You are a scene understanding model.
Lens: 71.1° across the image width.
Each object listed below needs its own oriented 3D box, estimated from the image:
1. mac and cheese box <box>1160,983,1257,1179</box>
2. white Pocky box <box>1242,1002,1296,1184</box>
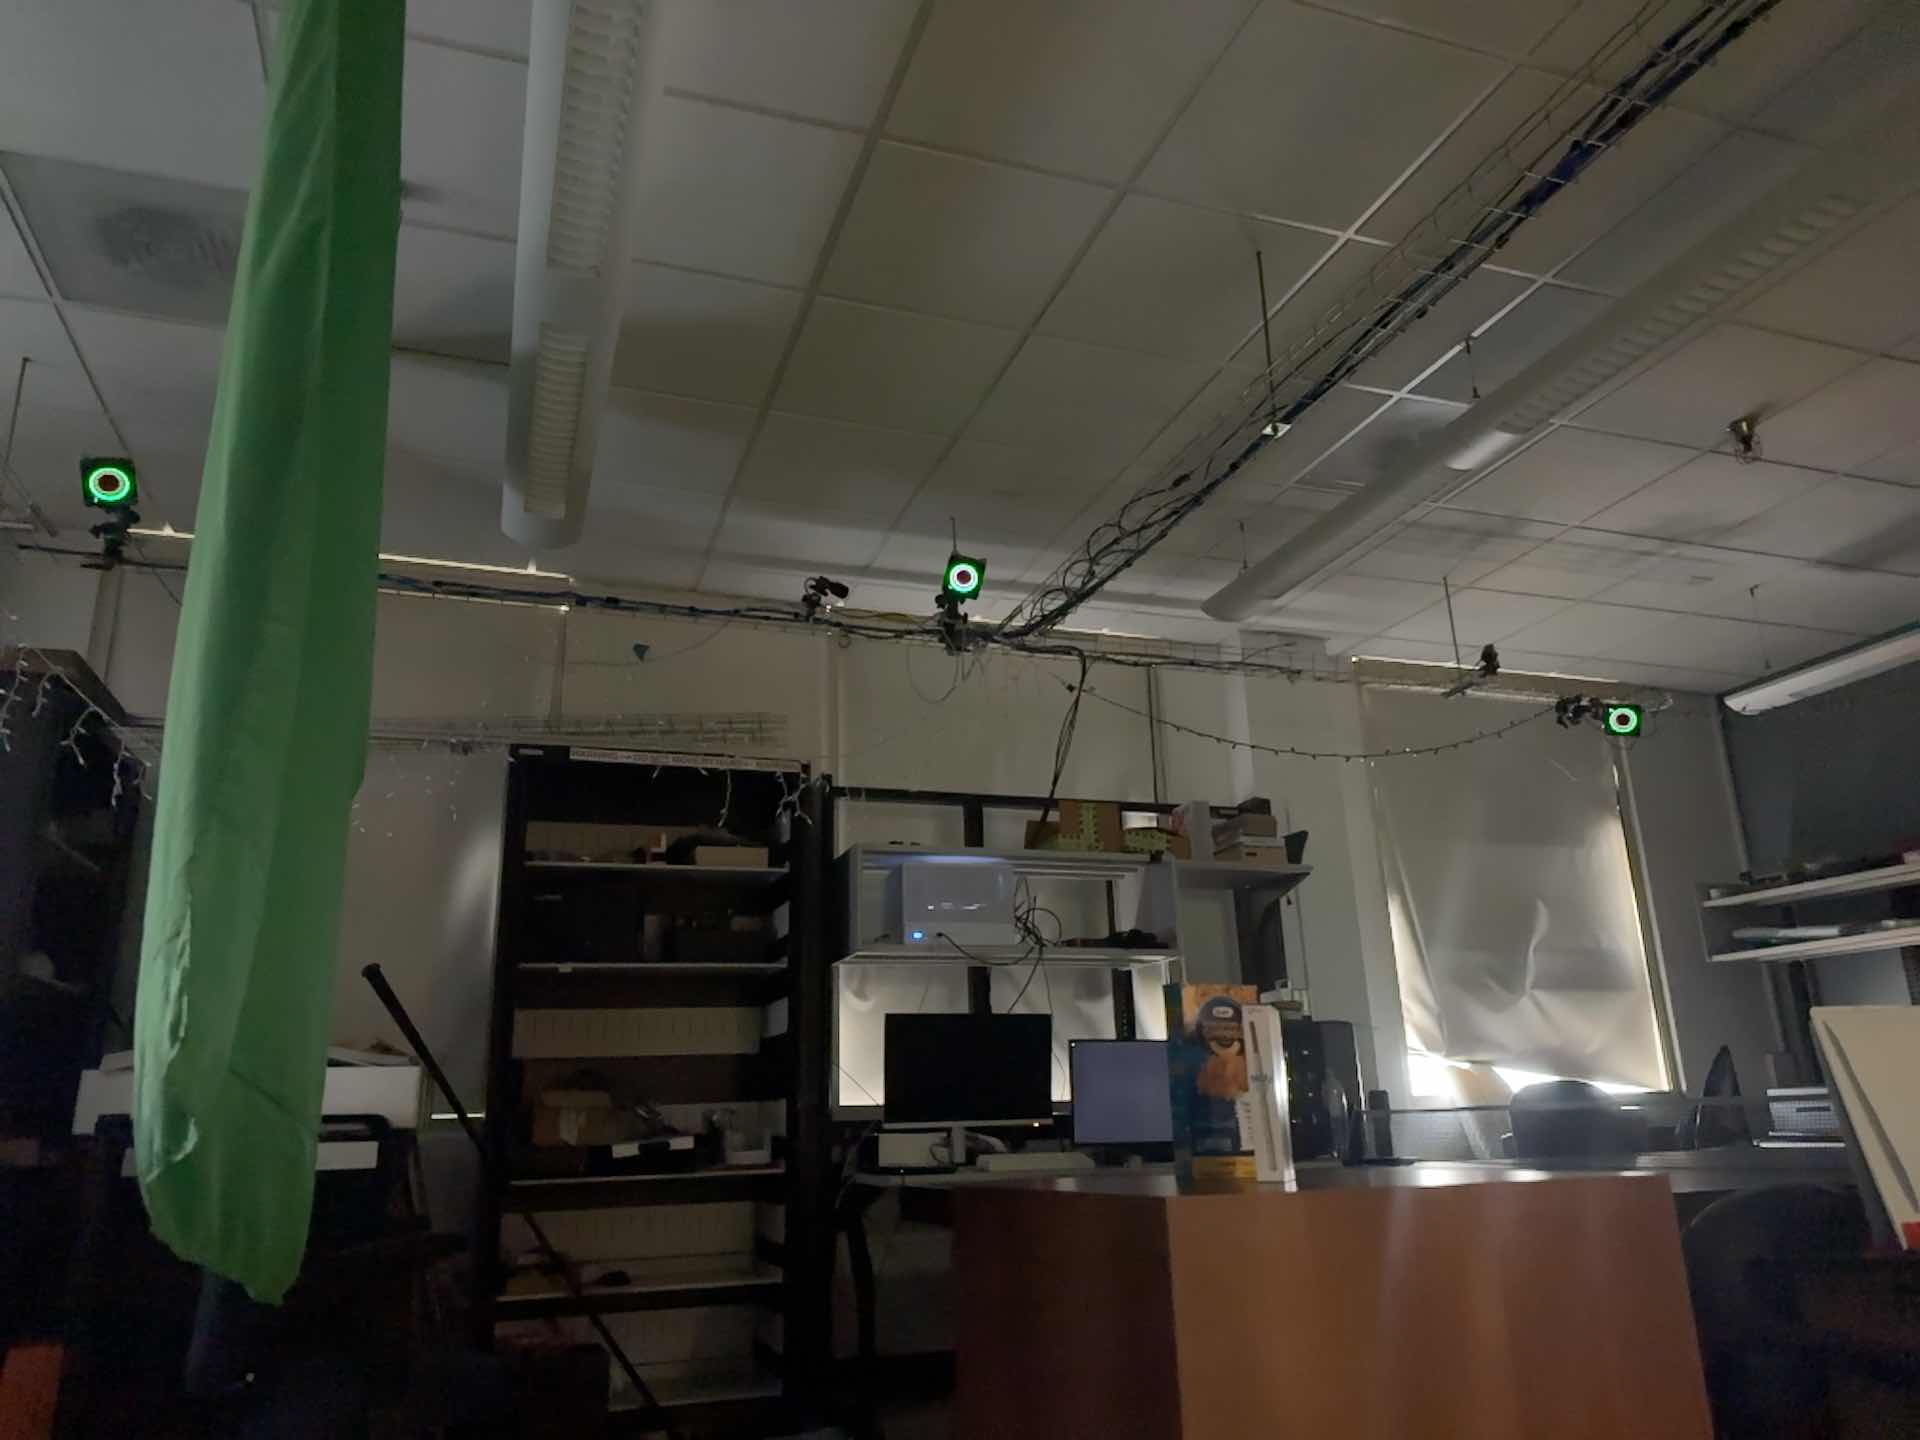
[{"bbox_3d":[0.251,0.357,1.334,0.088,0.181,0.035,6,-19,-25],"label":"mac and cheese box"},{"bbox_3d":[0.279,0.335,1.211,0.028,0.154,0.084,-7,-17,19],"label":"white Pocky box"}]
